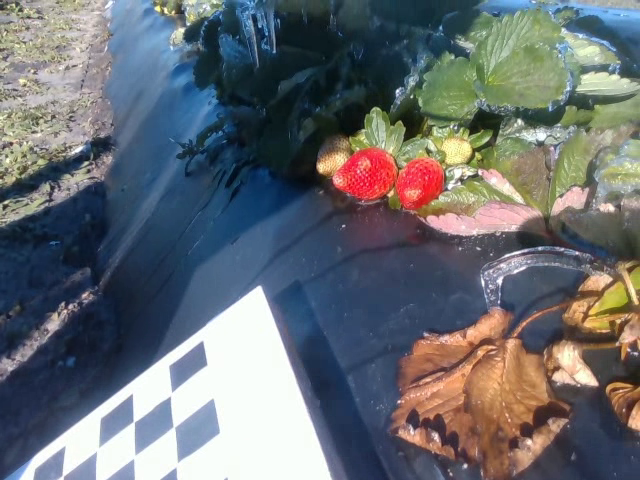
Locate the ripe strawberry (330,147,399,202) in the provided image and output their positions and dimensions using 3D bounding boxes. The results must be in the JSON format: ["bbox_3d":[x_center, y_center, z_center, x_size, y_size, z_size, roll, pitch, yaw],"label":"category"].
[{"bbox_3d":[0.025,-0.040,0.394,0.036,0.040,0.051,-1,11,44],"label":"ripe strawberry"}]

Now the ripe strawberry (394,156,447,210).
[{"bbox_3d":[0.063,-0.035,0.382,0.036,0.030,0.041,-22,31,26],"label":"ripe strawberry"}]
